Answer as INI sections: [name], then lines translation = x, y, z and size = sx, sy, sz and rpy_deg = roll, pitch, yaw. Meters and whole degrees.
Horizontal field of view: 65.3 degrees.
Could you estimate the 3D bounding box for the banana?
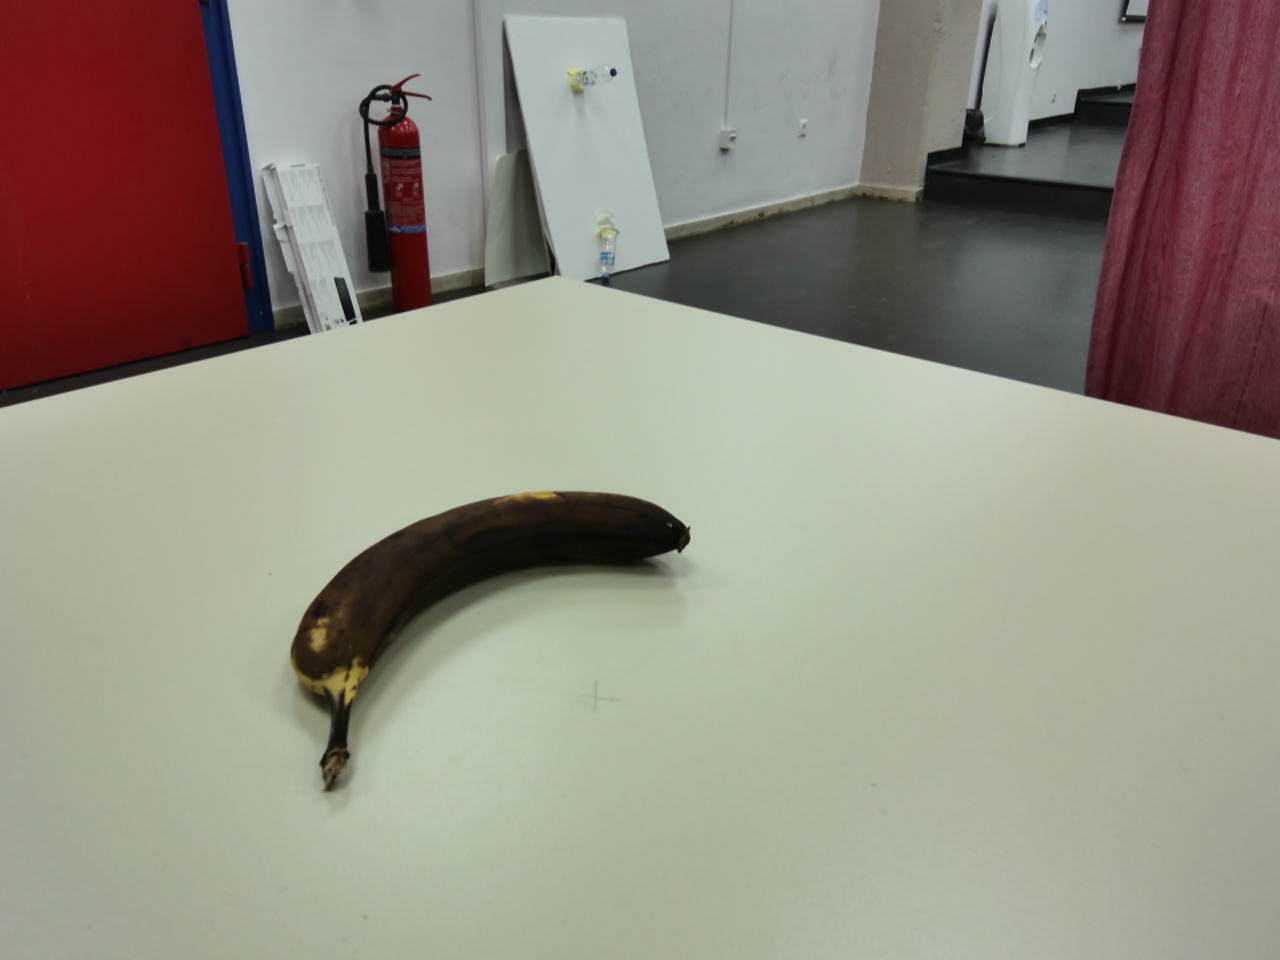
[banana]
translation = -0.068, 0.039, 0.392
size = 0.091, 0.034, 0.188
rpy_deg = 18, 29, 36
